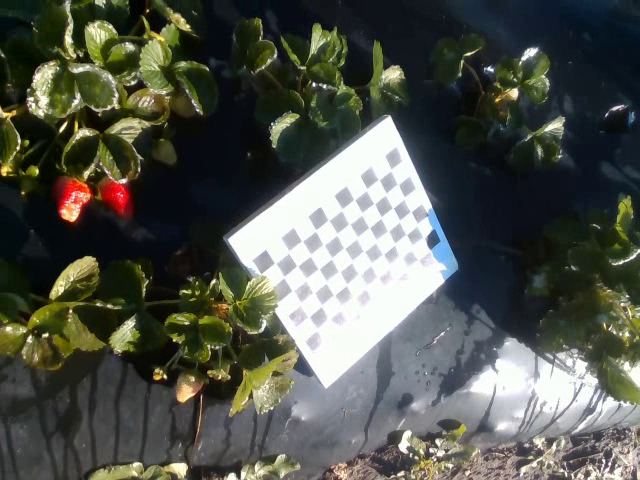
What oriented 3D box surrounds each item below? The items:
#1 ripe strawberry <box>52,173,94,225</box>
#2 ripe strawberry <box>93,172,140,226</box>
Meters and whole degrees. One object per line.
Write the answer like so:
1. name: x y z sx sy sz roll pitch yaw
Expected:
1. ripe strawberry: -0.322 -0.050 0.794 0.052 0.070 0.040 11 -2 -37
2. ripe strawberry: -0.271 -0.058 0.809 0.043 0.059 0.040 -38 21 -17
